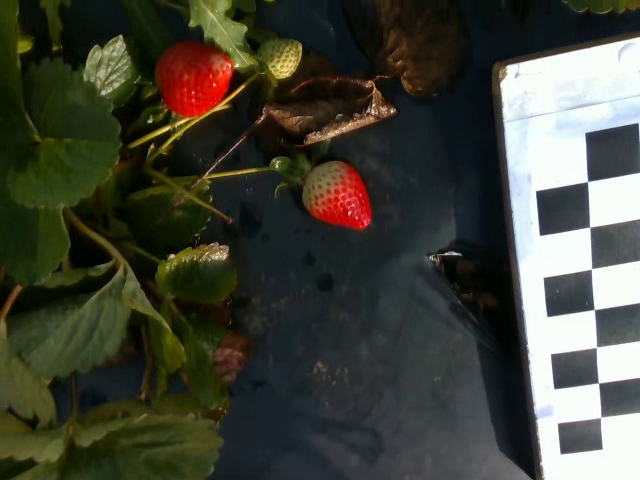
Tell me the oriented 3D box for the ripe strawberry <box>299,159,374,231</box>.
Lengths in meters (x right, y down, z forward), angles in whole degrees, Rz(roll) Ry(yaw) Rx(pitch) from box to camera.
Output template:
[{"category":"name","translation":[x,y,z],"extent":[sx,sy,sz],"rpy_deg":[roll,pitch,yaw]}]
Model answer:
[{"category":"ripe strawberry","translation":[0.009,-0.020,0.310],"extent":[0.043,0.035,0.030],"rpy_deg":[40,18,-10]}]

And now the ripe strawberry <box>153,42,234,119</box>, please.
[{"category":"ripe strawberry","translation":[-0.058,-0.076,0.285],"extent":[0.048,0.040,0.031],"rpy_deg":[-3,31,50]}]
